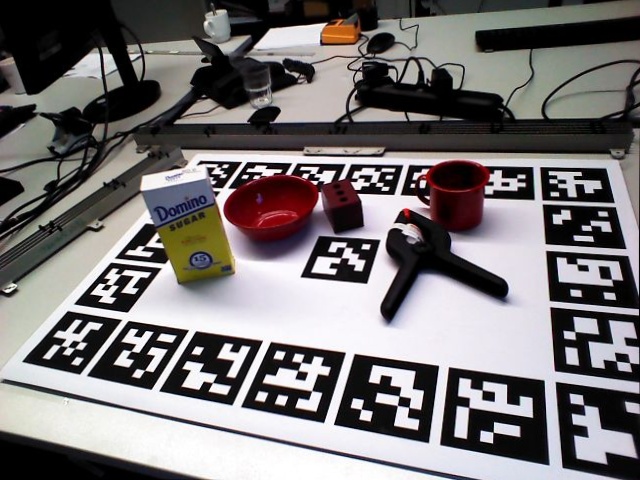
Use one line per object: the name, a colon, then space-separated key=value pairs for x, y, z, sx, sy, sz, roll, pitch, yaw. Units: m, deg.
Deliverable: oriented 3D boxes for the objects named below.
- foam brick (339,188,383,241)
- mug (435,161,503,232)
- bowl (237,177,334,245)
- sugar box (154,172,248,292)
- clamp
foam brick: x=0.067 y=-0.046 z=0.851 sx=0.053 sy=0.051 sz=0.078 roll=-15 pitch=39 yaw=-4
mug: x=0.232 y=-0.070 z=0.805 sx=0.117 sy=0.082 sz=0.092 roll=26 pitch=51 yaw=33
bowl: x=-0.053 y=-0.041 z=0.861 sx=0.162 sy=0.055 sz=0.161 roll=-6 pitch=39 yaw=5
sugar box: x=-0.167 y=-0.007 z=0.750 sx=0.093 sy=0.177 sz=0.045 roll=-12 pitch=40 yaw=-3
clamp: x=0.171 y=0.023 z=0.734 sx=0.166 sy=0.037 sz=0.202 roll=-13 pitch=39 yaw=0
